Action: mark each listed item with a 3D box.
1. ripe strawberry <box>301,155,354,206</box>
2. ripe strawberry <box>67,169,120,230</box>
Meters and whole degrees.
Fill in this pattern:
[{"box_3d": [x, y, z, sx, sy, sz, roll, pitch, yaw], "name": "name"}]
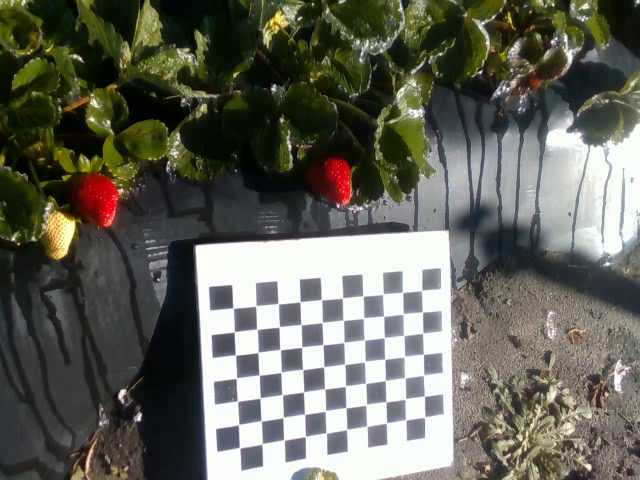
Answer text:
[{"box_3d": [0.017, -0.059, 0.679, 0.048, 0.061, 0.044, -12, -24, -21], "name": "ripe strawberry"}, {"box_3d": [-0.196, -0.029, 0.602, 0.042, 0.061, 0.046, -20, -31, -19], "name": "ripe strawberry"}]
